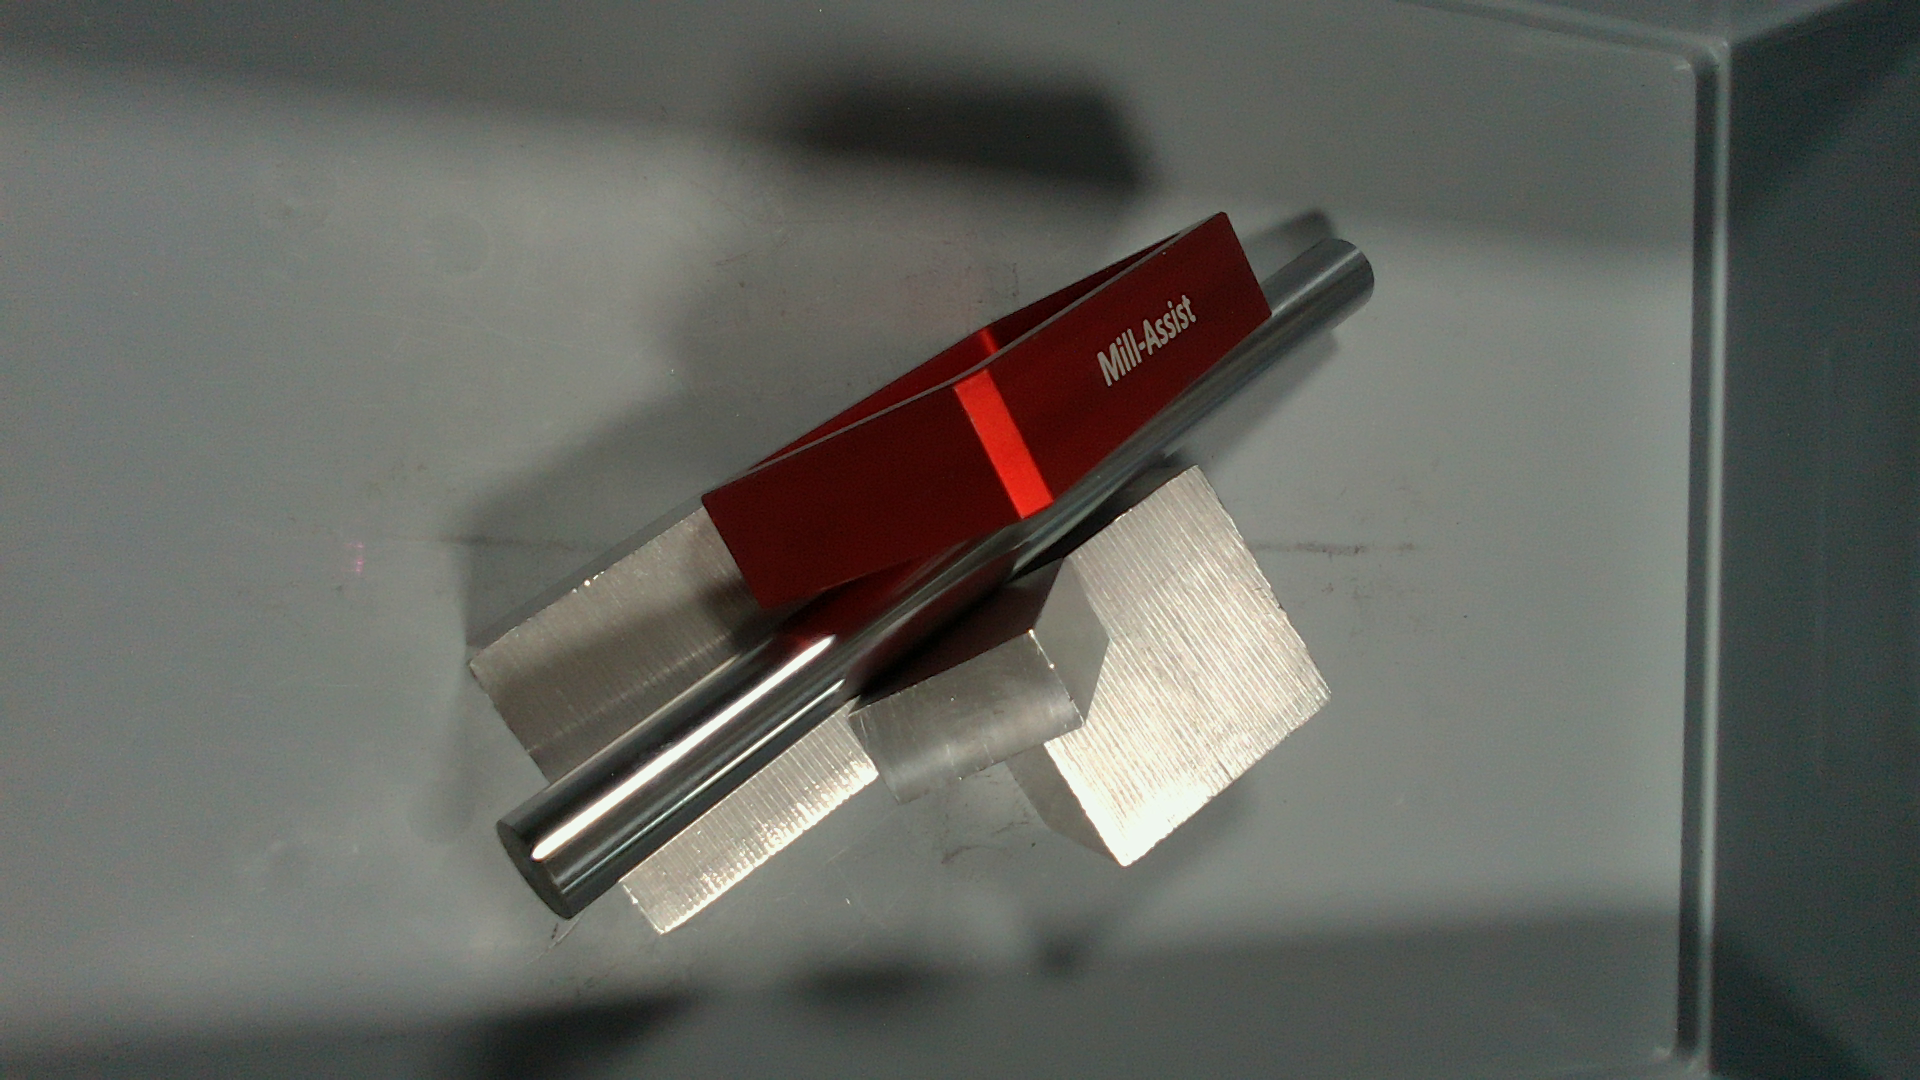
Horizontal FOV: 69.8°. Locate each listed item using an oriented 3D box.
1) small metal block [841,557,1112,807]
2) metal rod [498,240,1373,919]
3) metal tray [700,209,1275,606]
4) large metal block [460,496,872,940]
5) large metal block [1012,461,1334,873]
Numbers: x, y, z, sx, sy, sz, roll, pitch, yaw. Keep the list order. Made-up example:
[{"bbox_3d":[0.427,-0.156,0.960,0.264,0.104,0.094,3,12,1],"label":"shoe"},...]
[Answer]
[{"bbox_3d":[0.006,0.033,0.330,0.050,0.050,0.025,-26,100,19],"label":"small metal block"},{"bbox_3d":[0.017,-0.008,0.359,0.301,0.025,0.025,-36,102,-32],"label":"metal rod"},{"bbox_3d":[0.011,-0.035,0.333,0.130,0.090,0.030,-39,106,-48],"label":"metal tray"},{"bbox_3d":[-0.069,0.039,0.352,0.080,0.050,0.080,-35,101,-16],"label":"large metal block"},{"bbox_3d":[0.046,0.034,0.396,0.080,0.050,0.080,-35,101,-16],"label":"large metal block"}]
